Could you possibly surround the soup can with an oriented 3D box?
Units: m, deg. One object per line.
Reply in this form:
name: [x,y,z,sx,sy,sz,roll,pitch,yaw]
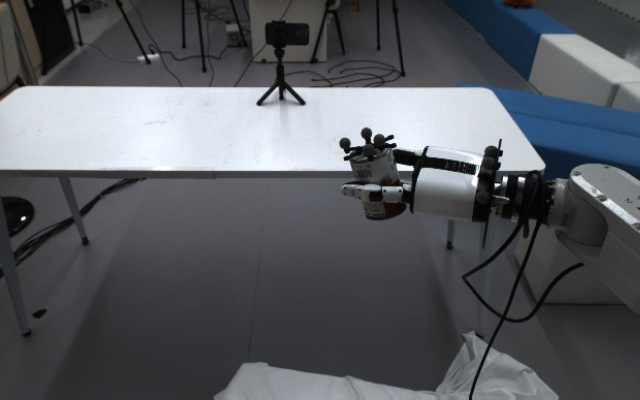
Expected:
soup can: [0.090,-0.029,0.740,0.067,0.101,0.067,-16,23,7]
